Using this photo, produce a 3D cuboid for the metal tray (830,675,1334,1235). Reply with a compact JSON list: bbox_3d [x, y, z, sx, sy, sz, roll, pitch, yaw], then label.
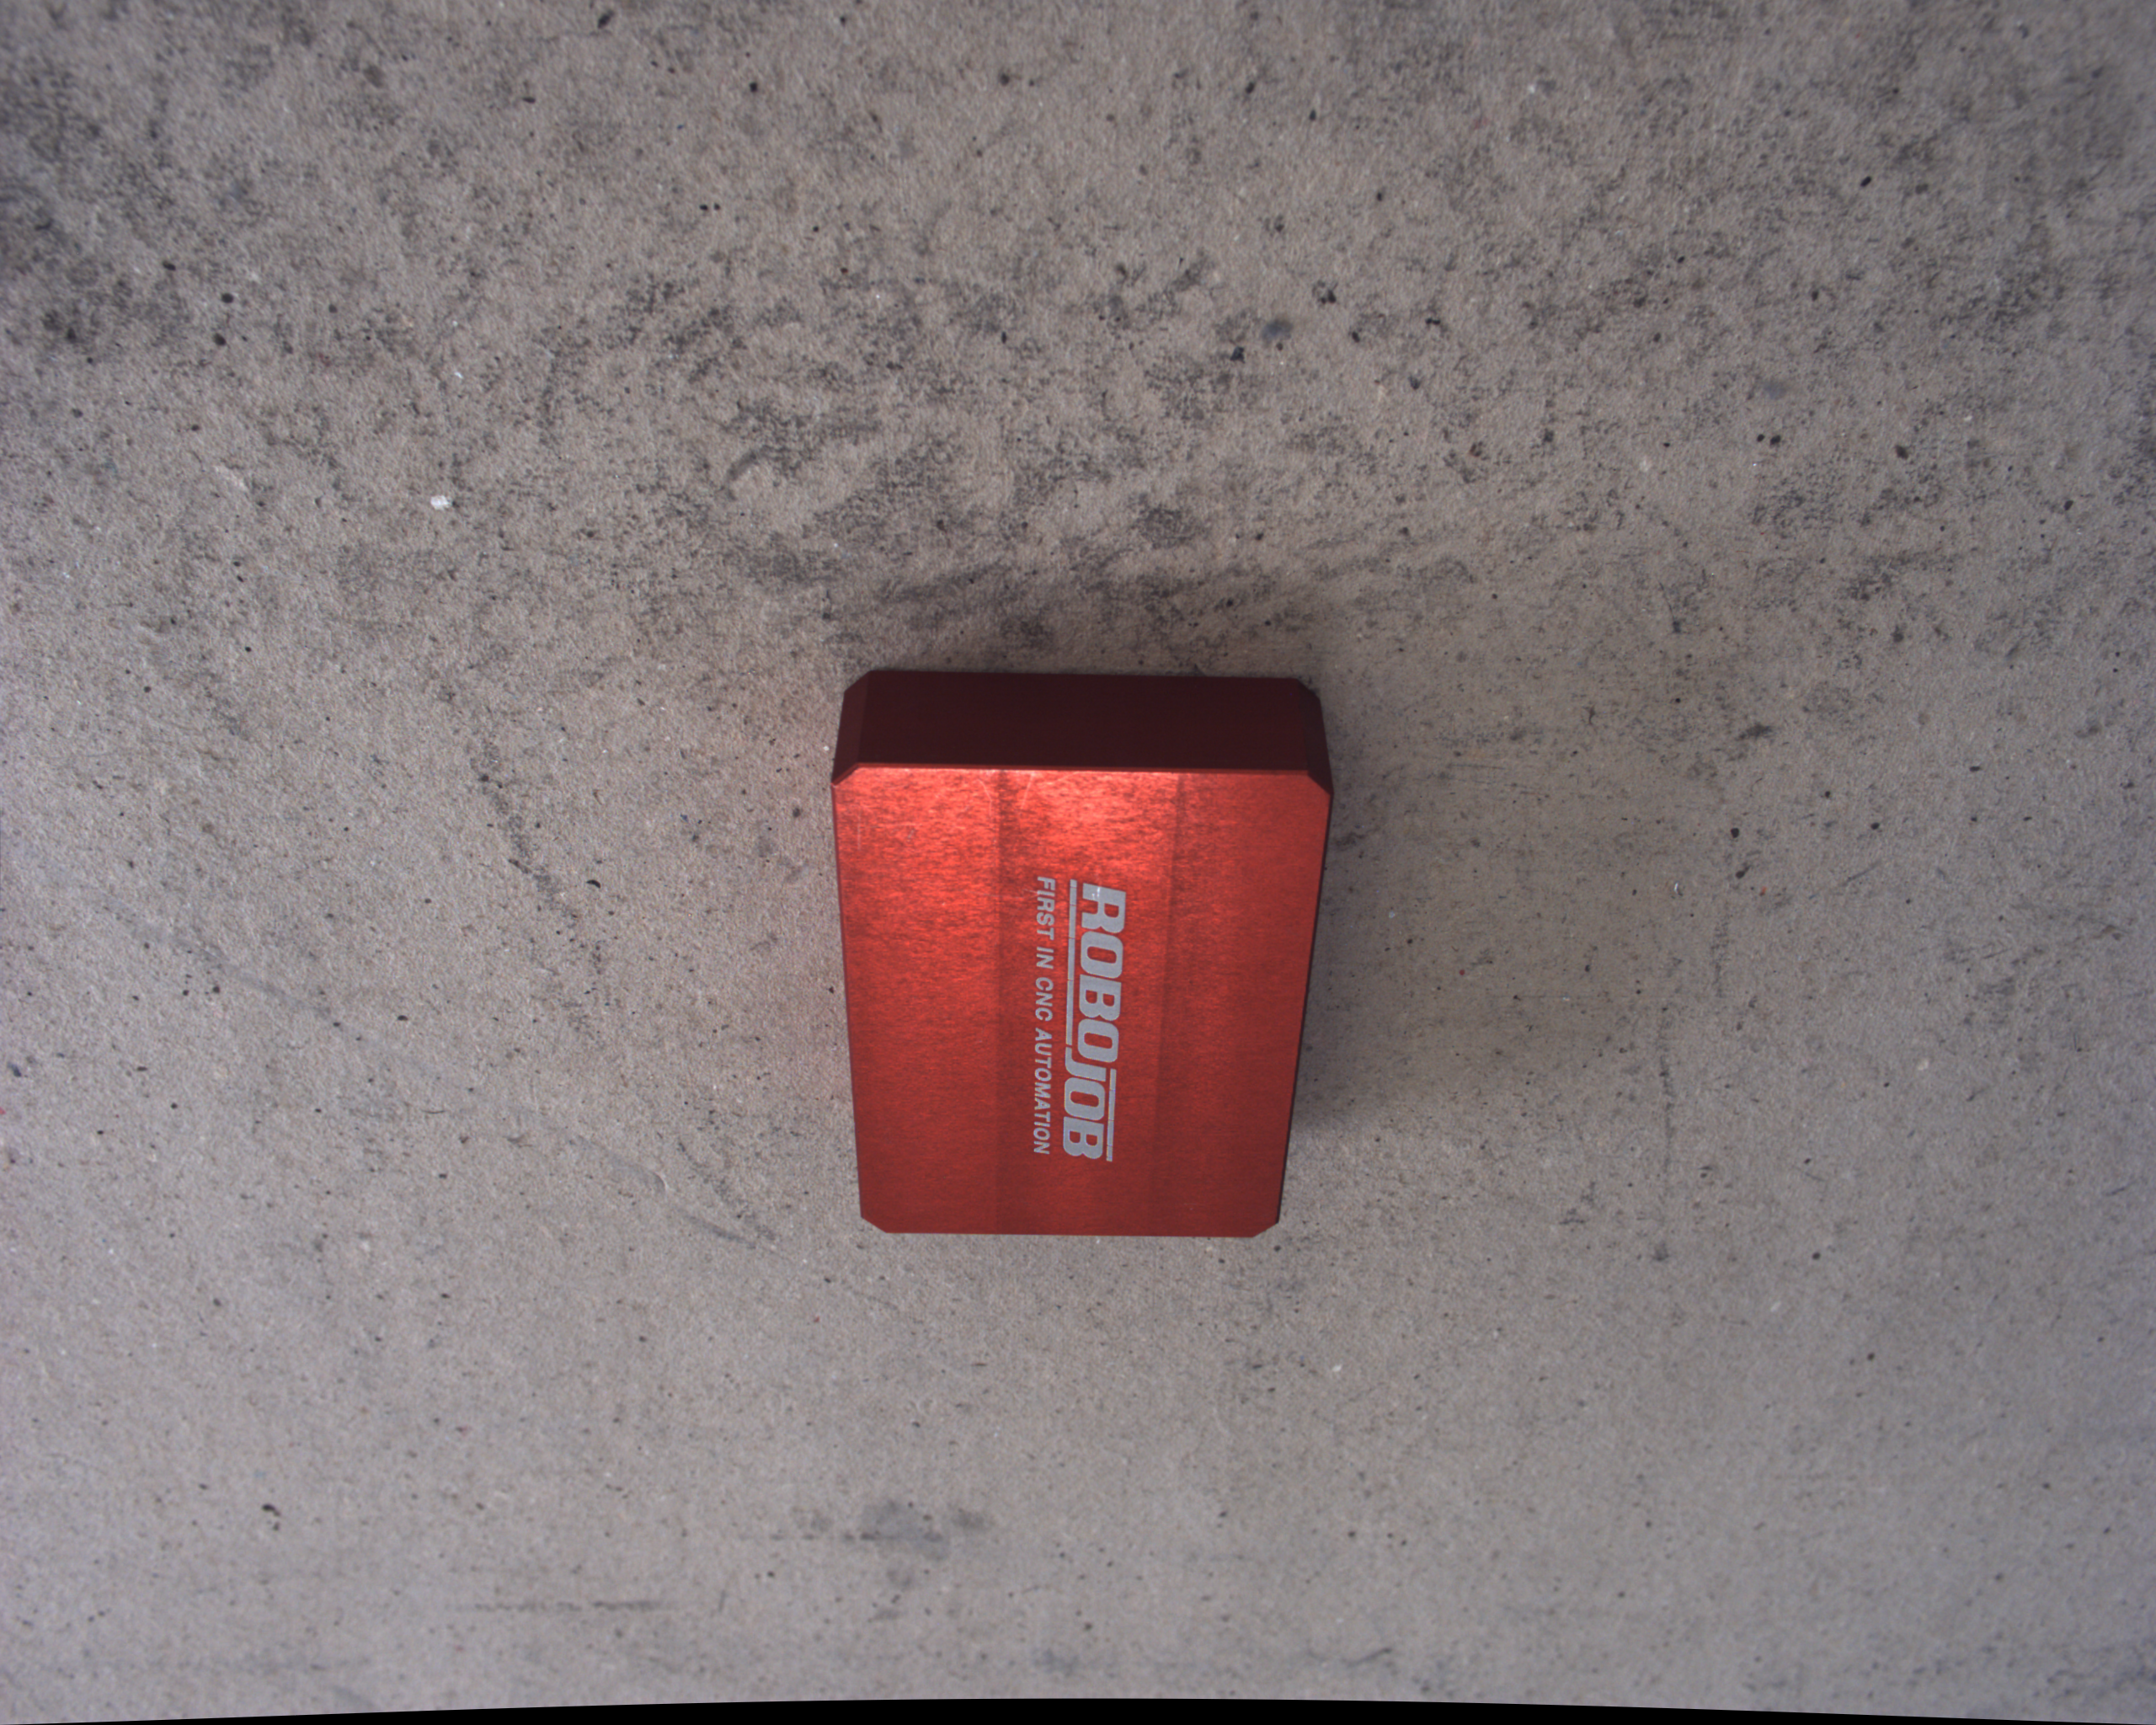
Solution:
[{"bbox_3d":[0.000,0.023,0.424,0.090,0.030,0.129,0,131,-1],"label":"metal tray"}]
